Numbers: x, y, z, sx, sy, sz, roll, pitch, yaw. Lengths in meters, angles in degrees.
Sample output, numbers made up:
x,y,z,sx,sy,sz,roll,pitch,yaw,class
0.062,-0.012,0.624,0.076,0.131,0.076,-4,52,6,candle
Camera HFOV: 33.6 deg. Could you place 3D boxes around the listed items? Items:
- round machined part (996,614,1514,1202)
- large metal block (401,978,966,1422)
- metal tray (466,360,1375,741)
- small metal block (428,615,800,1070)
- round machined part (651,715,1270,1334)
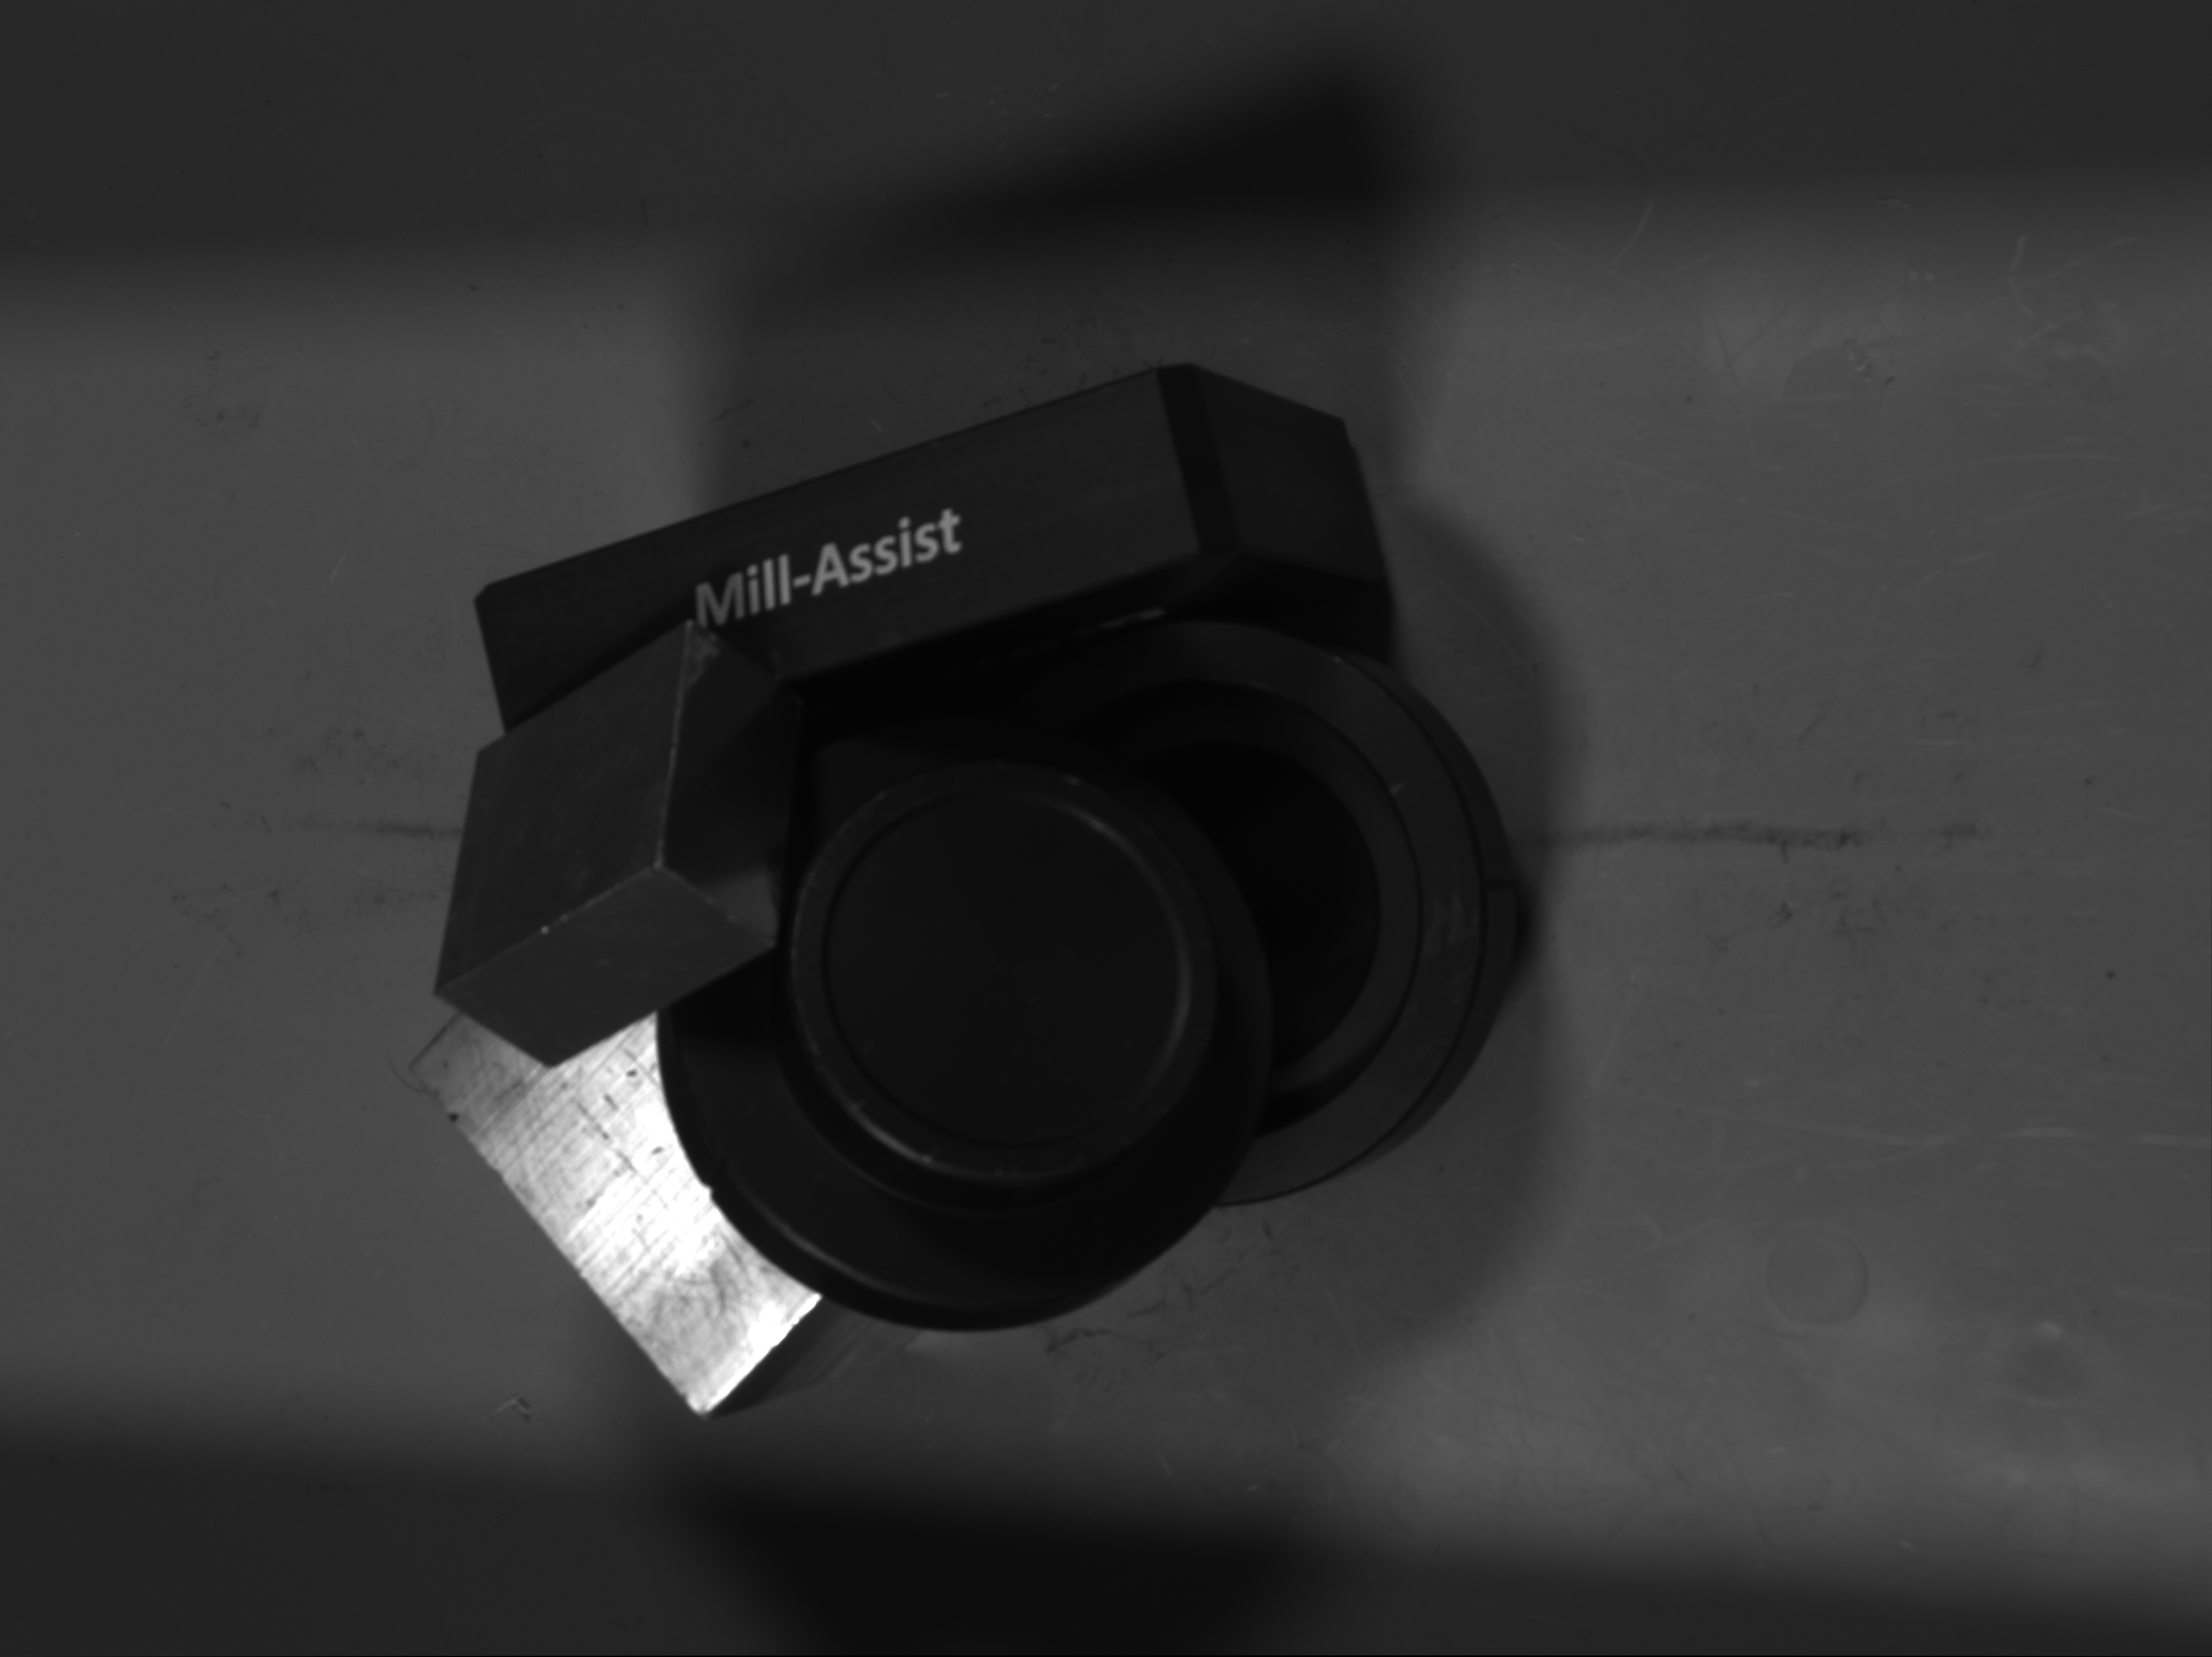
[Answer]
x,y,z,sx,sy,sz,roll,pitch,yaw,class
0.022,0.013,0.627,0.098,0.042,0.098,0,90,20,round machined part
-0.062,0.050,0.636,0.050,0.080,0.080,-46,76,14,large metal block
-0.029,-0.041,0.619,0.130,0.090,0.030,-16,85,19,metal tray
-0.076,0.002,0.572,0.050,0.025,0.050,-28,41,30,small metal block
-0.021,0.028,0.580,0.098,0.042,0.098,5,71,-14,round machined part
